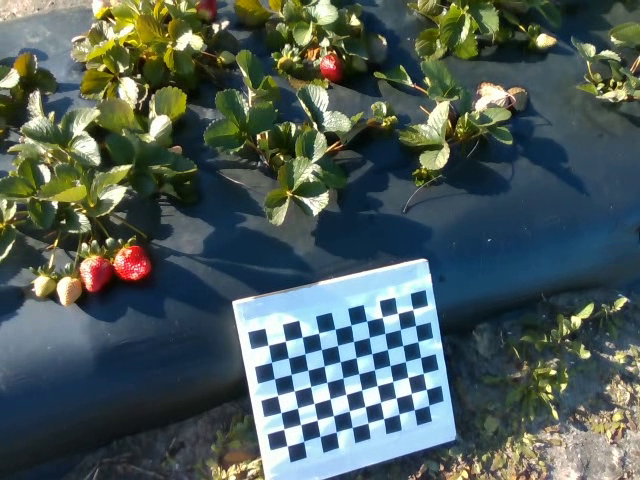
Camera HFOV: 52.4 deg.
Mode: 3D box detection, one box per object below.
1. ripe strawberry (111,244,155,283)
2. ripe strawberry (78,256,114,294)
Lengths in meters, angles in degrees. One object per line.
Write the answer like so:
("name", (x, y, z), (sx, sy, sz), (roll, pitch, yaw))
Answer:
("ripe strawberry", (-0.246, 0.033, 0.859), (0.067, 0.057, 0.051), (25, -6, 39))
("ripe strawberry", (-0.298, 0.045, 0.851), (0.050, 0.061, 0.044), (13, -45, -18))
